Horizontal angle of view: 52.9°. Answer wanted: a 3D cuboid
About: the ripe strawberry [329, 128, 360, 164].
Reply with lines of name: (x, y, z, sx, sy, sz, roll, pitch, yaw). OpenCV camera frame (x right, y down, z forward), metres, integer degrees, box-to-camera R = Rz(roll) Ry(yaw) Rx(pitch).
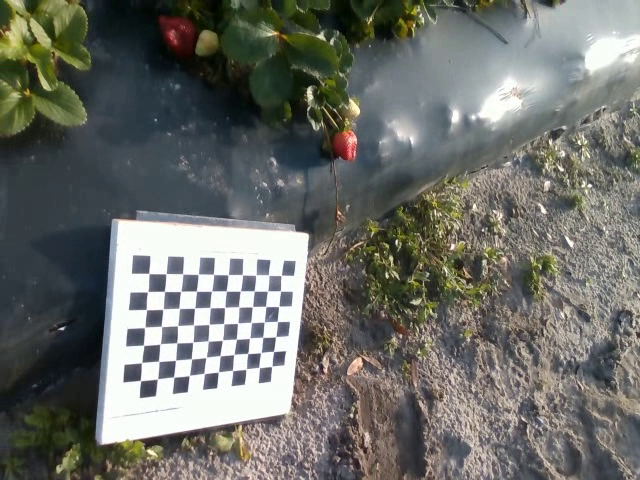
ripe strawberry: (0.048, -0.148, 0.999, 0.047, 0.050, 0.034, -22, 15, -35)

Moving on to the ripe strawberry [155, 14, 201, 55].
ripe strawberry: (-0.197, -0.285, 0.900, 0.057, 0.058, 0.070, 12, -3, 25)
